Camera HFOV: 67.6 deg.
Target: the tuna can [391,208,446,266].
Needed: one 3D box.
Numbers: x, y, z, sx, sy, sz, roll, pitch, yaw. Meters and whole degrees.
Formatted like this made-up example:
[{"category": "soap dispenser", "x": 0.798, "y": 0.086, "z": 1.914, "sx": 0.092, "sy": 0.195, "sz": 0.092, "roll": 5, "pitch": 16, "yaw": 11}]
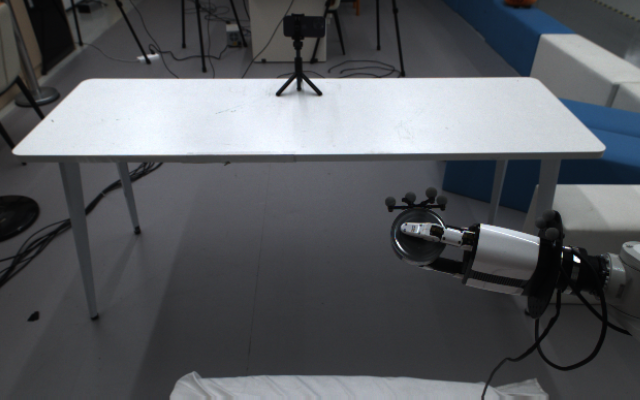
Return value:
[{"category": "tuna can", "x": 0.152, "y": 0.054, "z": 0.739, "sx": 0.085, "sy": 0.034, "sz": 0.085, "roll": -3, "pitch": 66, "yaw": 7}]
